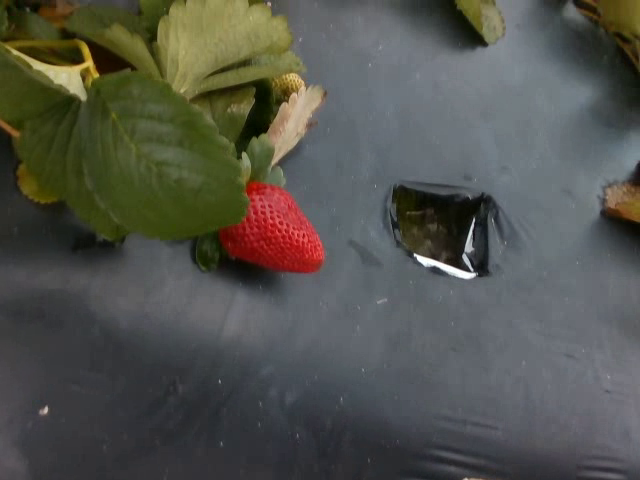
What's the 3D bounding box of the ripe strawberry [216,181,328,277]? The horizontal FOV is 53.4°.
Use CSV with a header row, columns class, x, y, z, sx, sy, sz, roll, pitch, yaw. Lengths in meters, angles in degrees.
class,x,y,z,sx,sy,sz,roll,pitch,yaw
ripe strawberry,-0.025,-0.002,0.315,0.064,0.046,0.048,37,24,11
